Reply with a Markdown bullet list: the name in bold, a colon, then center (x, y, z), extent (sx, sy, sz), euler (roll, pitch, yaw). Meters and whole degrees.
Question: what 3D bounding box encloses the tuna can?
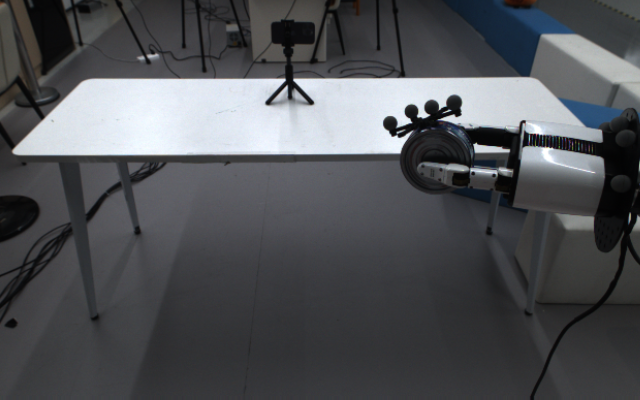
- **tuna can**: center (0.146, -0.045, 0.586), extent (0.085, 0.085, 0.034), euler (15, 29, 18)
